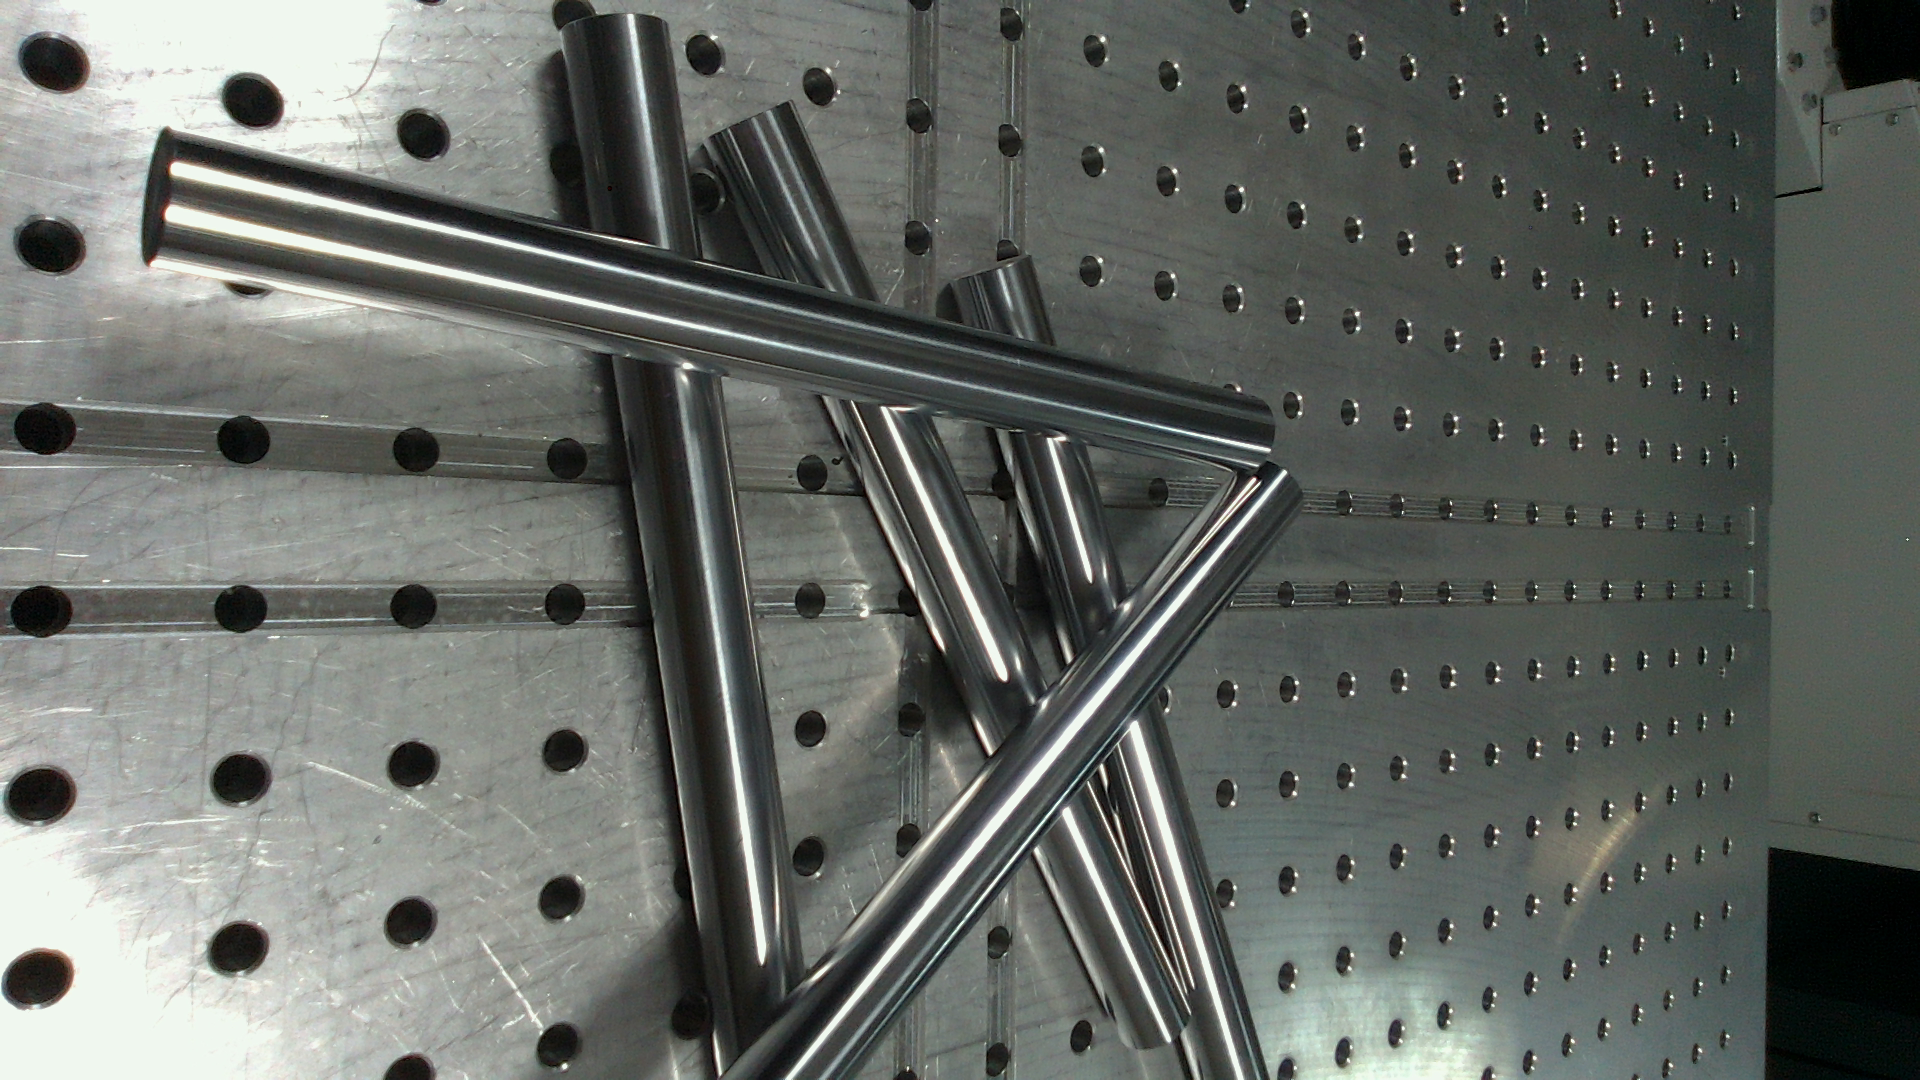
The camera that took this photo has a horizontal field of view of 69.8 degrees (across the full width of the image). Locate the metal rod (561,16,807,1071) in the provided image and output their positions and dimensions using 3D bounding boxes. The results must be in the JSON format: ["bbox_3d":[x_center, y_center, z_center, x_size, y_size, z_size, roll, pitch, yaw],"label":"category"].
[{"bbox_3d":[-0.062,0.028,0.340,0.025,0.025,0.300,-12,98,-39],"label":"metal rod"}]

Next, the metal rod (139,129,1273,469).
[{"bbox_3d":[-0.027,-0.047,0.338,0.301,0.025,0.025,6,86,-40],"label":"metal rod"}]

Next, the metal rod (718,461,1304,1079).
[{"bbox_3d":[0.009,0.077,0.366,0.301,0.025,0.025,-46,117,-30],"label":"metal rod"}]

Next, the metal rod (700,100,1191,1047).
[{"bbox_3d":[0.004,0.024,0.395,0.025,0.025,0.300,-37,113,-34],"label":"metal rod"}]

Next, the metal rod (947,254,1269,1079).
[{"bbox_3d":[0.053,0.059,0.435,0.025,0.025,0.300,-28,108,-36],"label":"metal rod"}]
